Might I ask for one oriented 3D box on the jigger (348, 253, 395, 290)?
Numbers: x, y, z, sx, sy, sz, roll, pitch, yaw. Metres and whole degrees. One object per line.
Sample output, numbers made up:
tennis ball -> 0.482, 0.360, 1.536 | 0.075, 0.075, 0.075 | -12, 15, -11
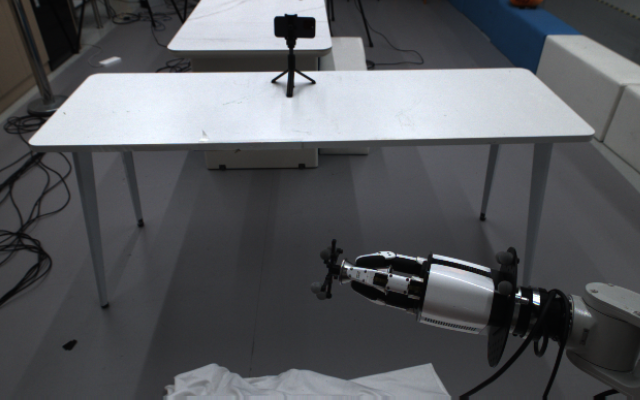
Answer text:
jigger -> 0.071, 0.102, 0.685 | 0.071, 0.043, 0.043 | 7, 35, 16
